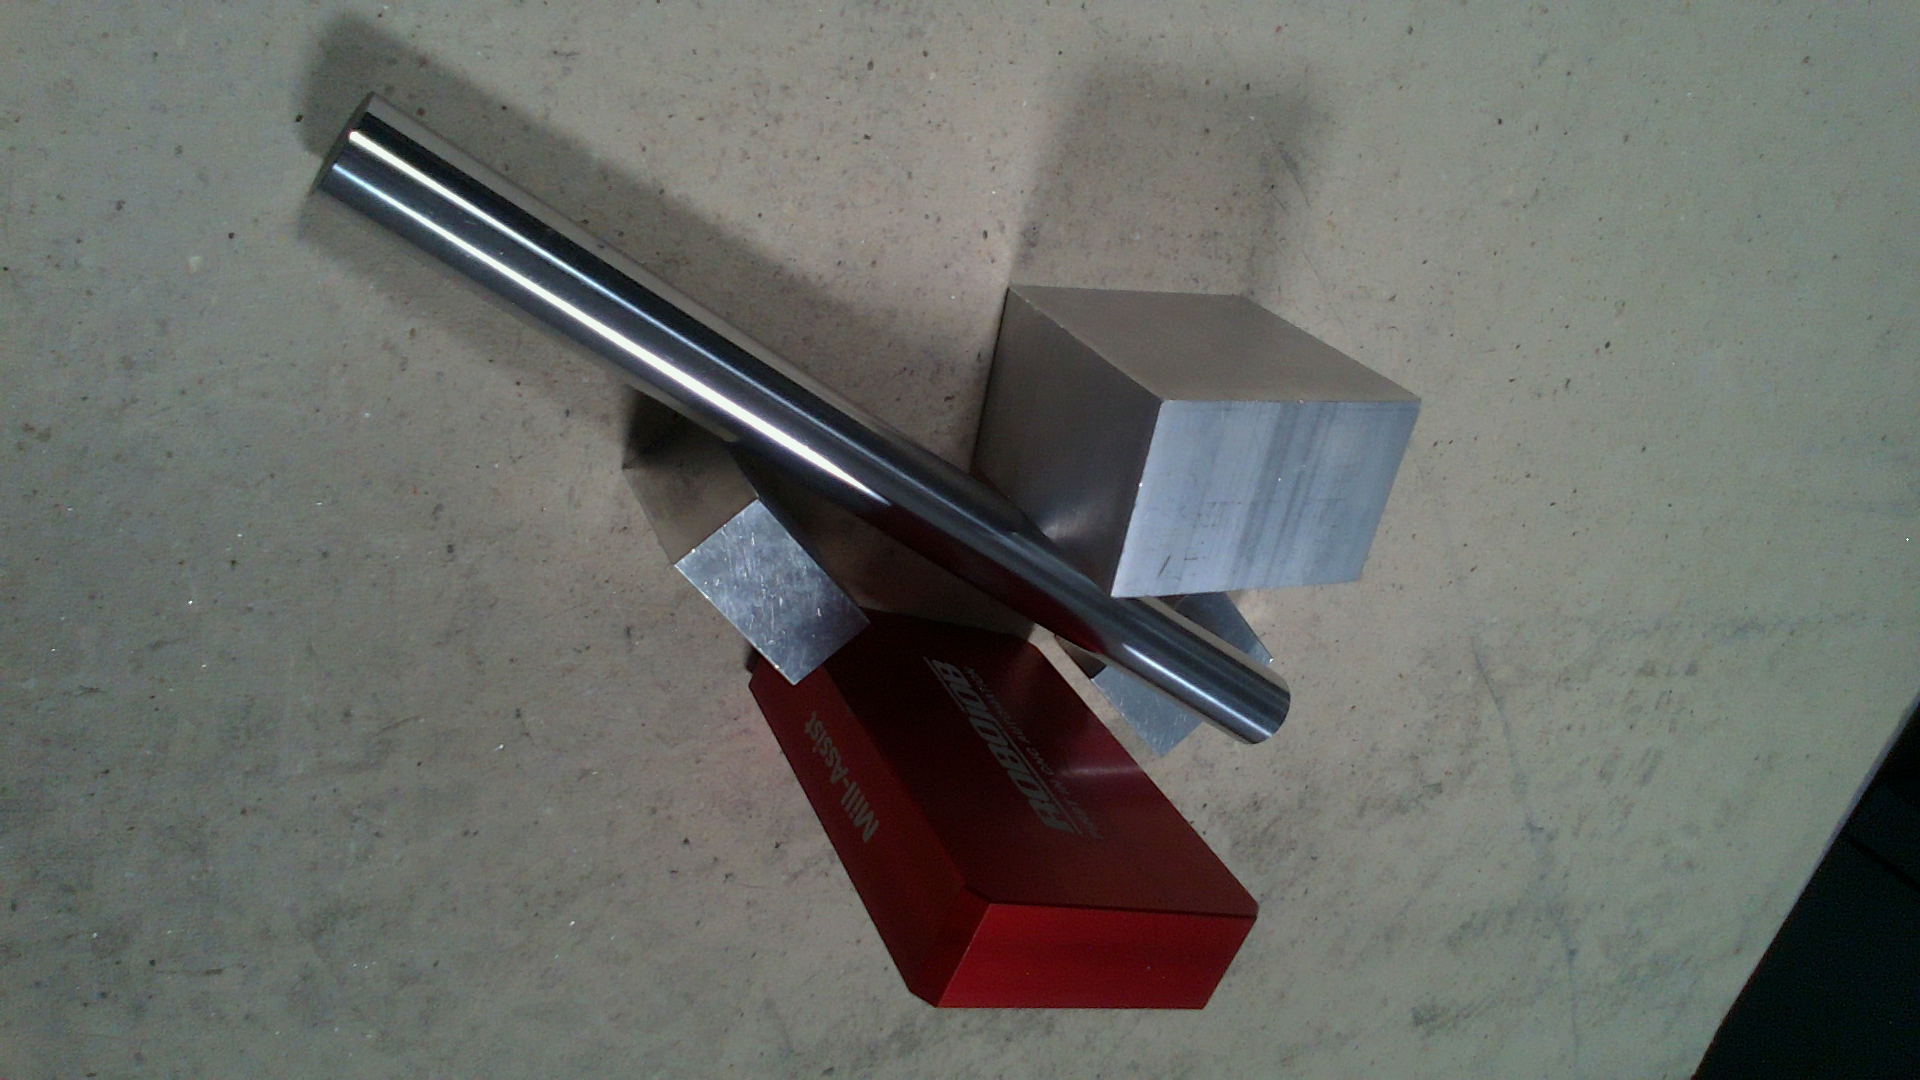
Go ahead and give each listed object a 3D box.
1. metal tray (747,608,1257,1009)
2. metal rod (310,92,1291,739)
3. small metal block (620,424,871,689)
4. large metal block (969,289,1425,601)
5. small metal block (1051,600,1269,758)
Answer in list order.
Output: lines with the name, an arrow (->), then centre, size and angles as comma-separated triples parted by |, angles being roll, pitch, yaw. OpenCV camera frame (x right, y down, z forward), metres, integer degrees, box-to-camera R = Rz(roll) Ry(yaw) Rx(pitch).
metal tray -> 0.006, 0.066, 0.366 | 0.090, 0.130, 0.030 | 13, 112, -33
metal rod -> -0.014, -0.014, 0.356 | 0.301, 0.025, 0.025 | 31, 101, -33
small metal block -> -0.054, 0.002, 0.344 | 0.025, 0.050, 0.050 | -39, 129, -2
large metal block -> 0.059, -0.028, 0.368 | 0.080, 0.080, 0.050 | -2, 119, -27
small metal block -> 0.066, 0.035, 0.447 | 0.050, 0.025, 0.050 | -41, 129, 0
